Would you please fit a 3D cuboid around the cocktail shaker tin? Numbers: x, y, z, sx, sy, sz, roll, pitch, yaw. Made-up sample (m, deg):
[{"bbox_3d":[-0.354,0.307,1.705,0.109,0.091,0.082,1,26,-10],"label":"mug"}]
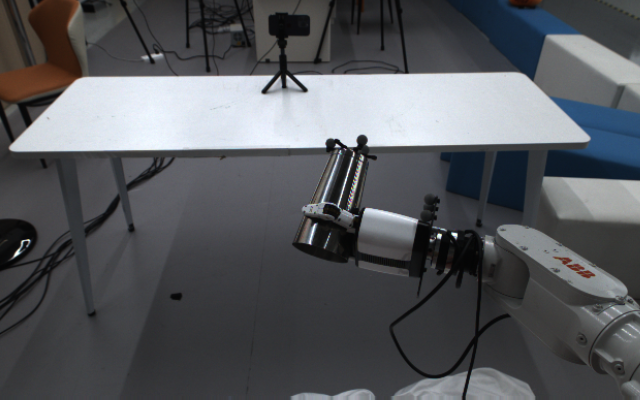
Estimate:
[{"bbox_3d":[0.023,0.006,0.782,0.093,0.093,0.170,14,73,16],"label":"cocktail shaker tin"}]
